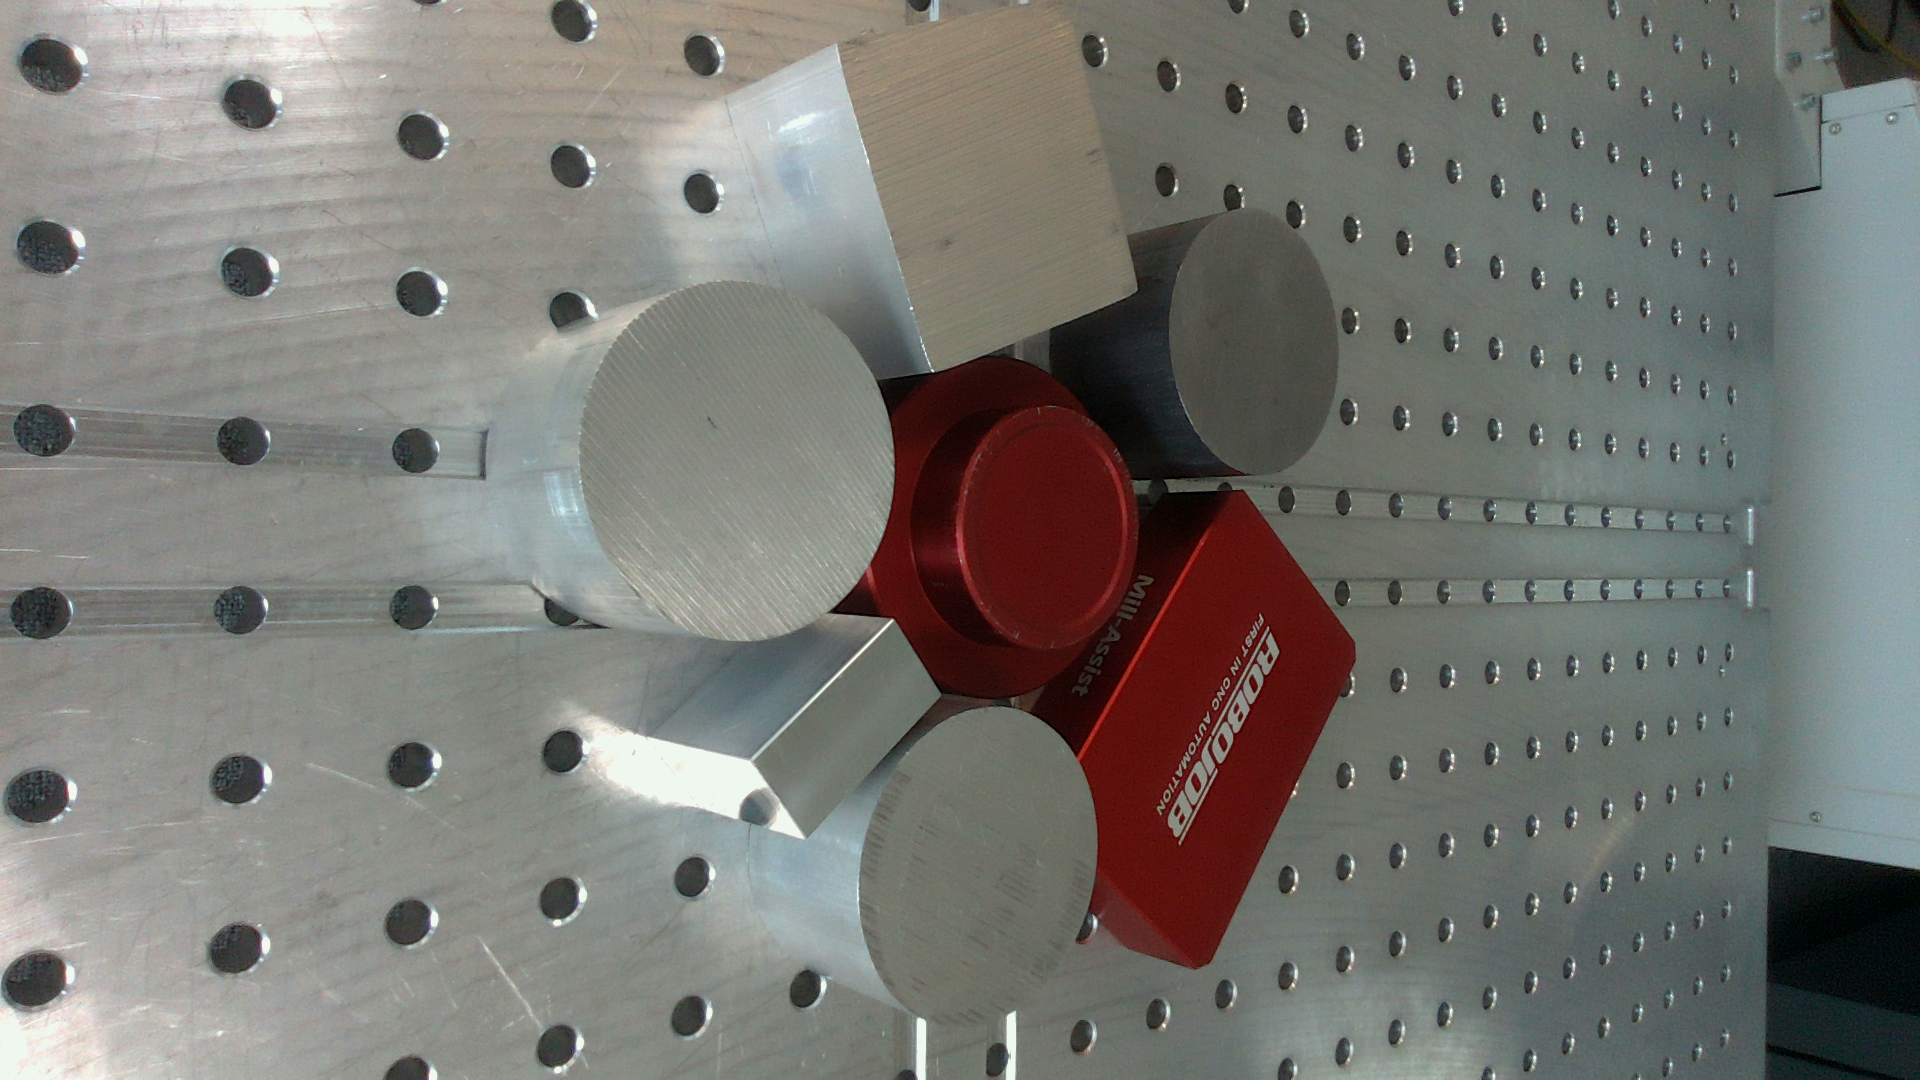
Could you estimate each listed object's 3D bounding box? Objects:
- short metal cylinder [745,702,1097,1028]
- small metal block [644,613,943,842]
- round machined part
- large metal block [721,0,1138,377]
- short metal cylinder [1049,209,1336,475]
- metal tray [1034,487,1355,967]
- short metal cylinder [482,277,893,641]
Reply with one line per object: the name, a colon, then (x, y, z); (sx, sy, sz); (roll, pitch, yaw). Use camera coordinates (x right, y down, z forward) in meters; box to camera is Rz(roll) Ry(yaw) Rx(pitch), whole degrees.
short metal cylinder: (-0.010, 0.082, 0.367); (0.080, 0.050, 0.080); (0, 90, -40)
small metal block: (-0.041, 0.044, 0.340); (0.050, 0.050, 0.025); (-45, 117, -31)
round machined part: (0.012, -0.004, 0.390); (0.098, 0.042, 0.098); (0, 90, -40)
large metal block: (-0.006, -0.093, 0.371); (0.080, 0.050, 0.080); (-27, 107, -37)
short metal cylinder: (0.075, -0.060, 0.437); (0.080, 0.050, 0.080); (0, 90, -40)
metal tray: (0.074, 0.058, 0.449); (0.090, 0.030, 0.130); (48, 61, -29)
short metal cylinder: (-0.063, -0.018, 0.322); (0.080, 0.050, 0.080); (0, 90, -40)
